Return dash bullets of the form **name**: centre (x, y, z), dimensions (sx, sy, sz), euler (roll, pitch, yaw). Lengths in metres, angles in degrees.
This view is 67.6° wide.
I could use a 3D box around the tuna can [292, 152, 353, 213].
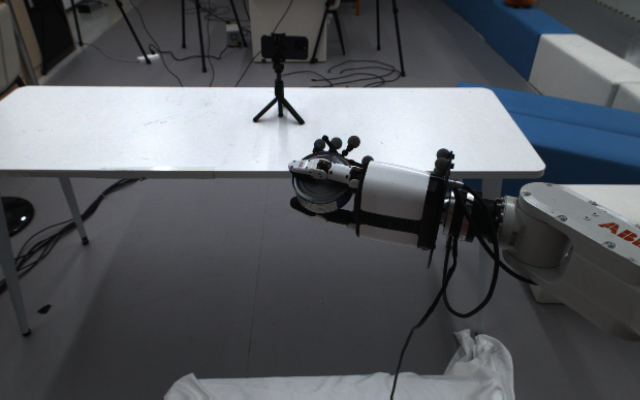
- **tuna can**: centre (0.006, -0.026, 0.680), dimensions (0.085, 0.034, 0.085), euler (-4, 56, 6)
